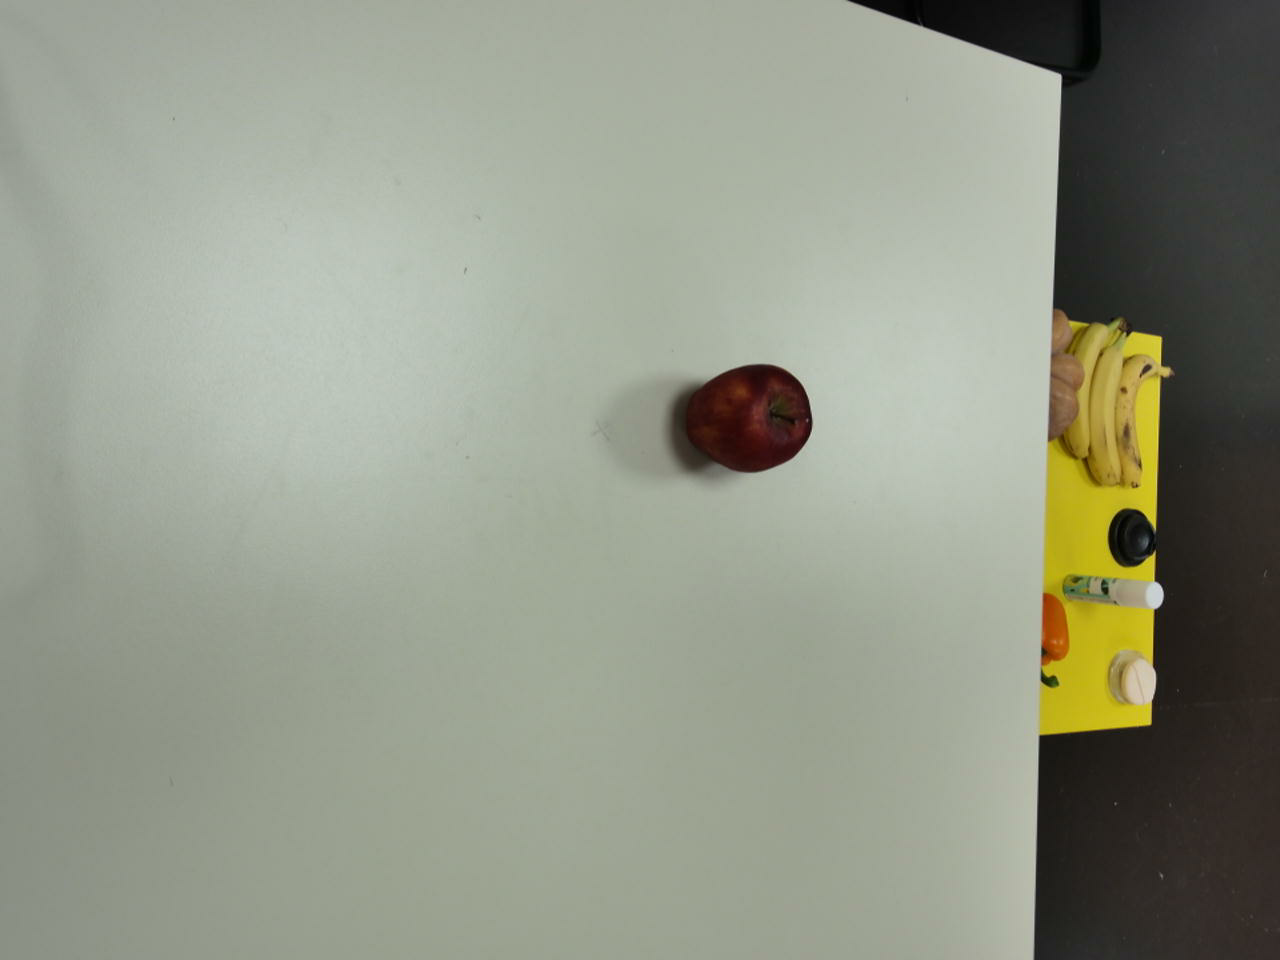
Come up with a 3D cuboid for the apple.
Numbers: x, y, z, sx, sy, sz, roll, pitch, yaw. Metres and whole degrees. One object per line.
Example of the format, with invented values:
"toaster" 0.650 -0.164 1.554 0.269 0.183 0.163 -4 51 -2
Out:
"apple" 0.079 -0.044 0.701 0.083 0.090 0.083 0 90 -28
